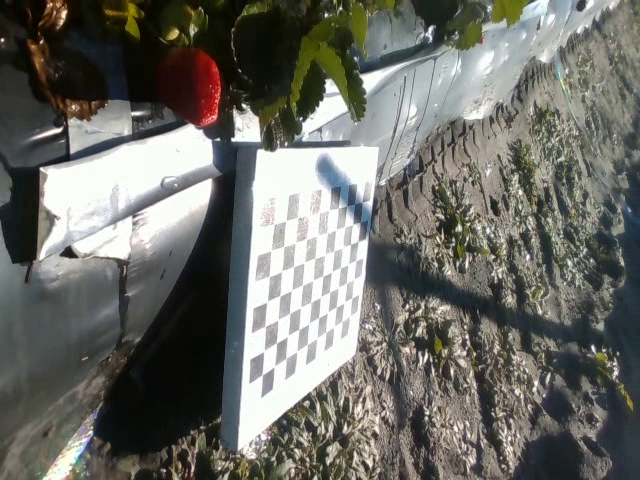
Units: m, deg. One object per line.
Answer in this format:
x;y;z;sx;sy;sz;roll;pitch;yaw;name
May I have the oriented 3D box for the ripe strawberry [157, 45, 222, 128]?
-0.089;-0.104;0.452;0.058;0.065;0.062;-29;-28;3;ripe strawberry
